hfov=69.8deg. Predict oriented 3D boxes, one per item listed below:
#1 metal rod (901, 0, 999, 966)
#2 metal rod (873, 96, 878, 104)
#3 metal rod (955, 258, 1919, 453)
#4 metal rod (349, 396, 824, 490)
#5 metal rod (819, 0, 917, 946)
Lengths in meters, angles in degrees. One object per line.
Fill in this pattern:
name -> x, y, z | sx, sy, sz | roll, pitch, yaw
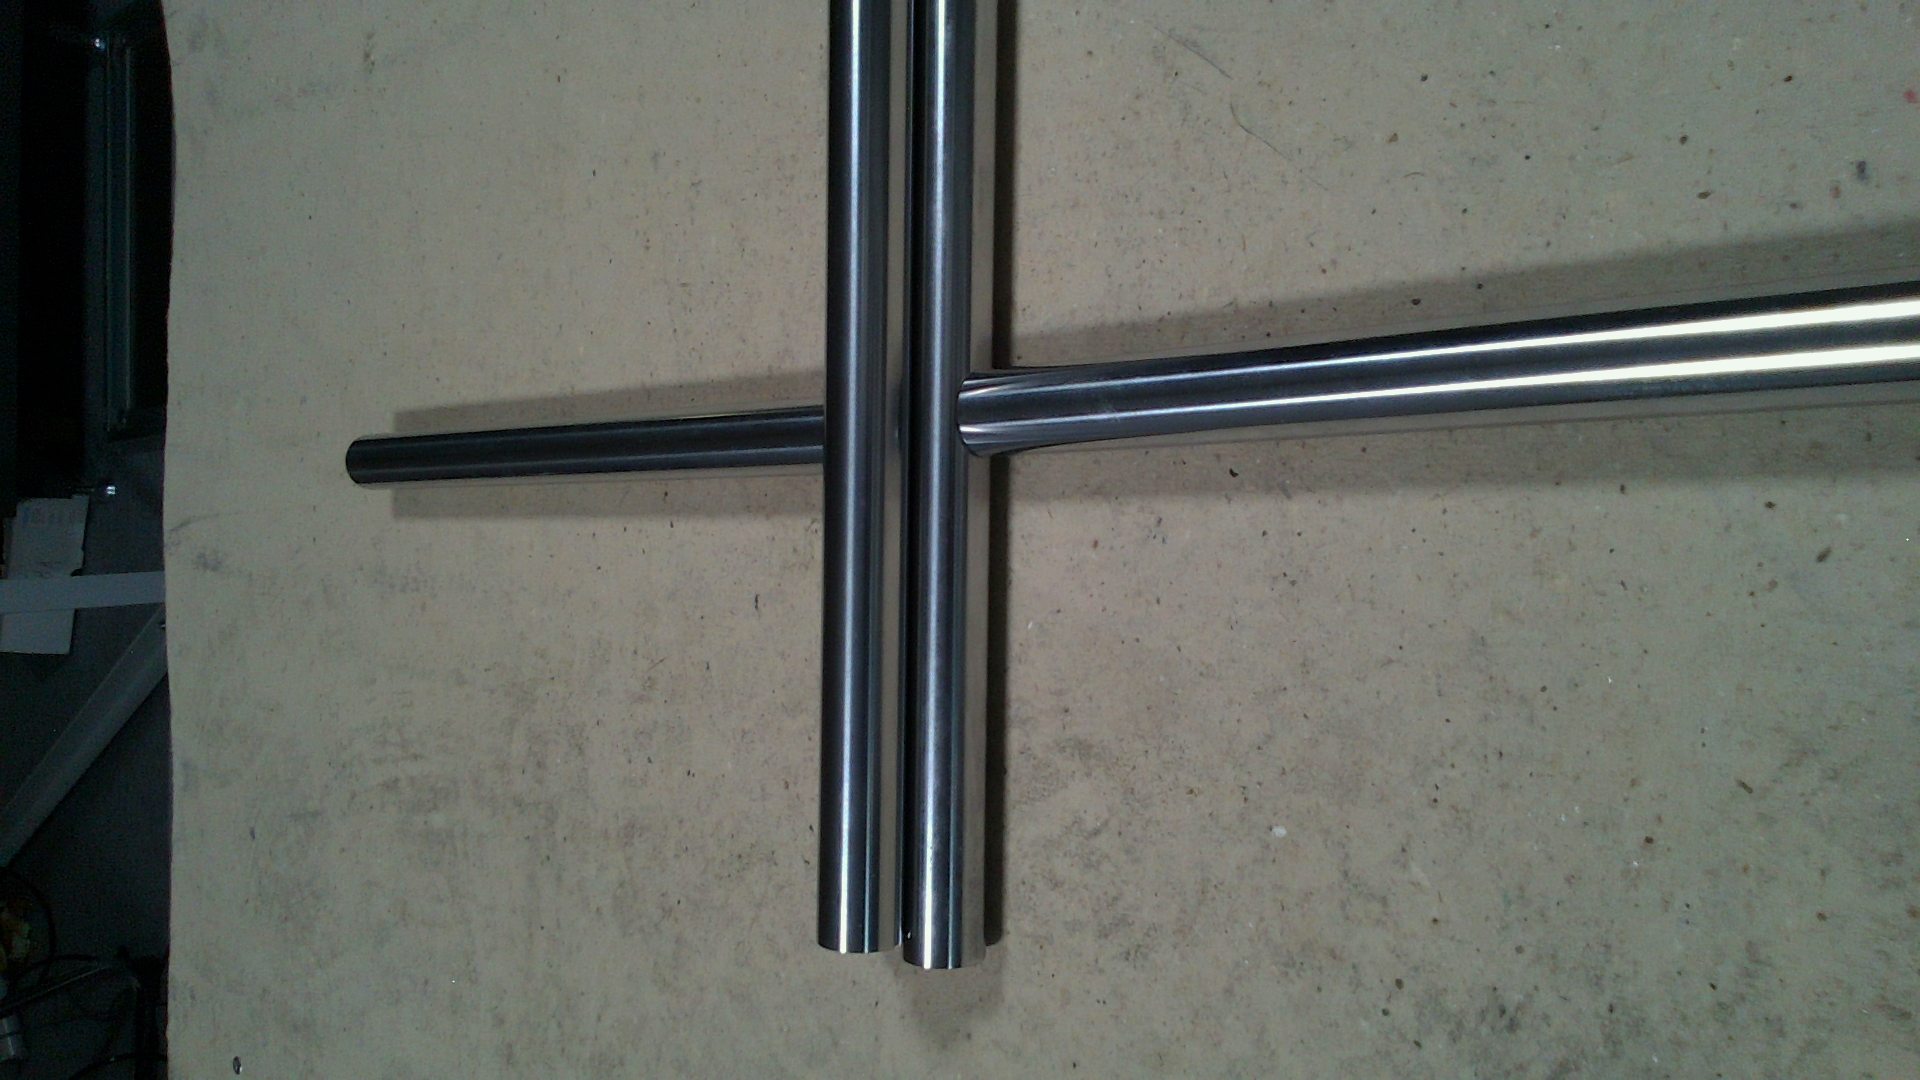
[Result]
metal rod -> -0.003, -0.030, 0.398 | 0.025, 0.025, 0.300 | 1, 91, 40
metal rod -> -0.021, -0.036, 0.414 | 0.025, 0.025, 0.300 | 1, 91, 40
metal rod -> 0.121, -0.038, 0.293 | 0.299, 0.025, 0.025 | -1, 90, 40
metal rod -> -0.146, -0.034, 0.517 | 0.299, 0.025, 0.025 | 0, 90, 40
metal rod -> -0.026, -0.038, 0.390 | 0.025, 0.025, 0.300 | 1, 91, 40
